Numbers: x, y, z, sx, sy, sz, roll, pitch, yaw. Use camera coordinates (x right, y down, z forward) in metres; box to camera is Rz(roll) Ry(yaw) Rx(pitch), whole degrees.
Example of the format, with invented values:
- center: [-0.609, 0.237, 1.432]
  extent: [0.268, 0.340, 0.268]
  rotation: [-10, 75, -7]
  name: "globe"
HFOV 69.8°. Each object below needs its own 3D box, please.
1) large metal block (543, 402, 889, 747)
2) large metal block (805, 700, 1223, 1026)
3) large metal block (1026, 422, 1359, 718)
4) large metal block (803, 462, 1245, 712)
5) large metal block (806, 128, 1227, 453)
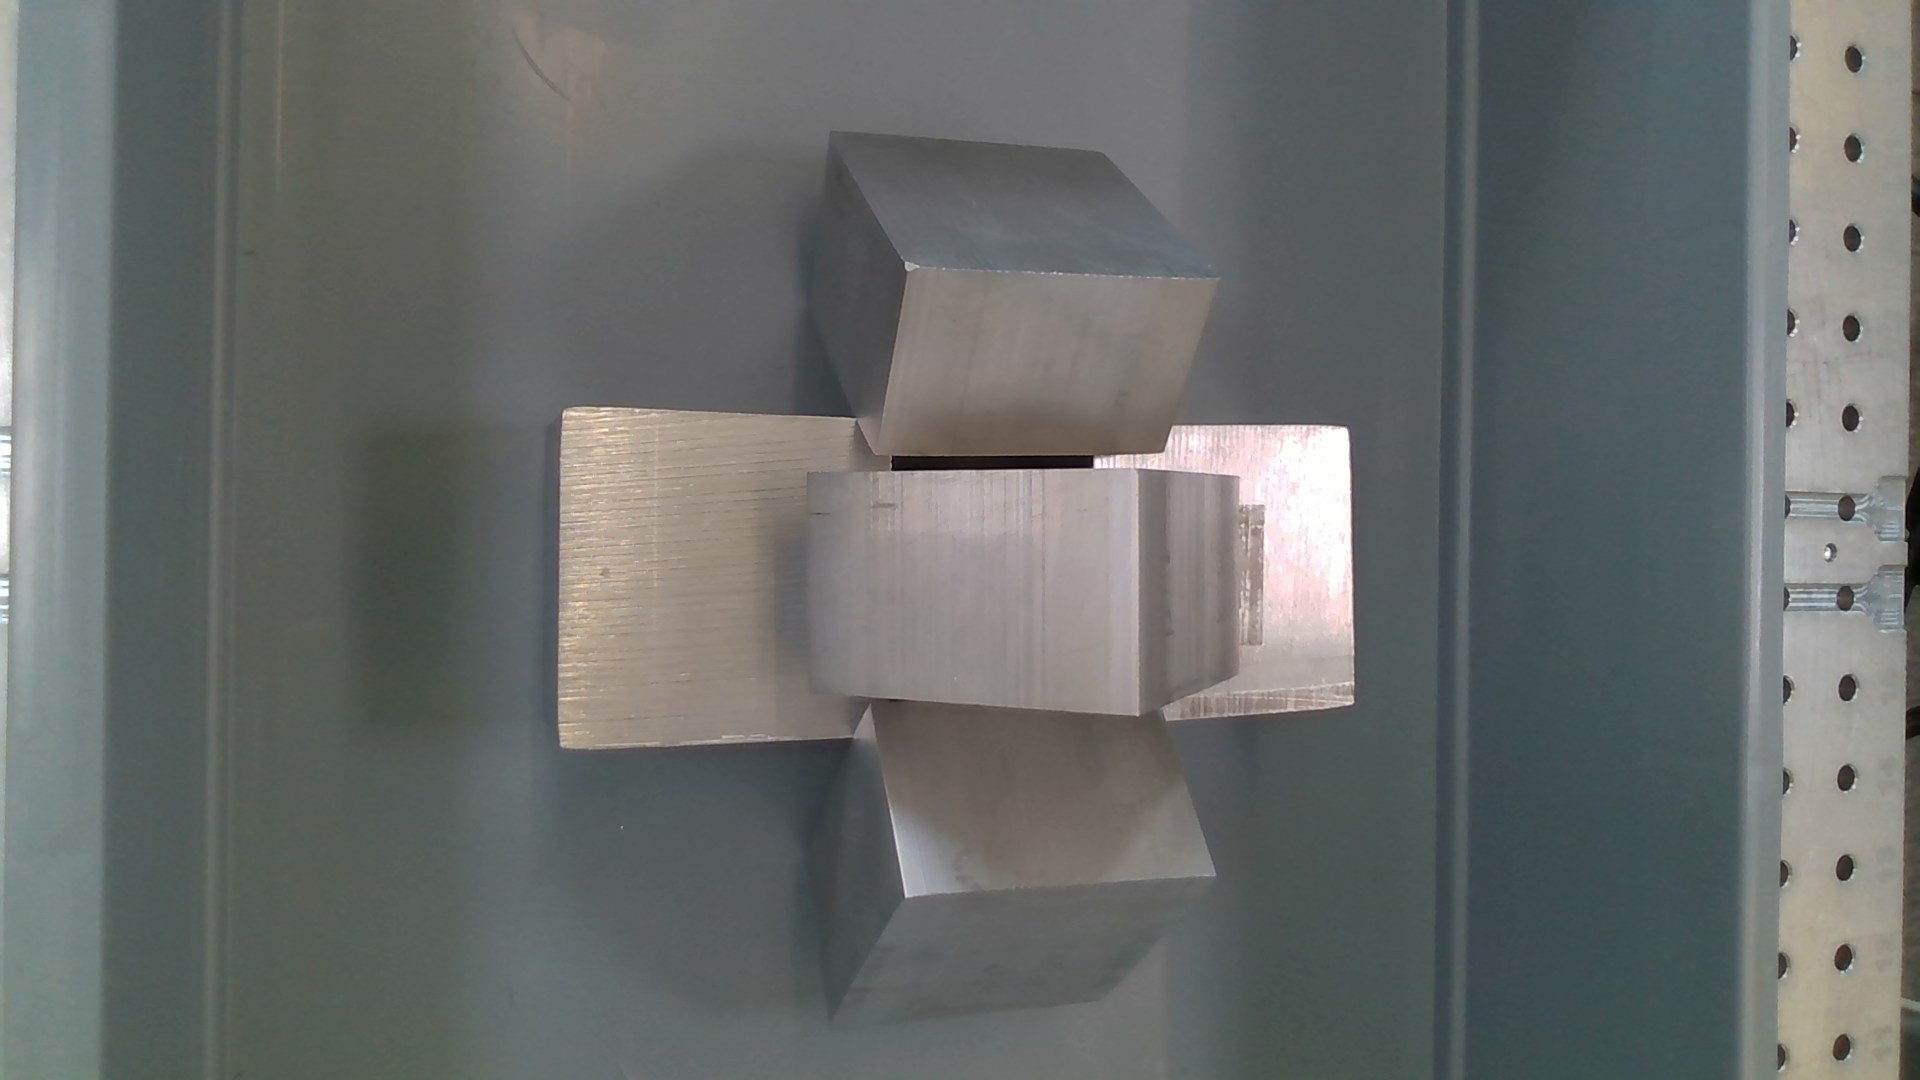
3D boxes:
- center: [-0.064, 0.009, 0.357]
  extent: [0.080, 0.050, 0.080]
  rotation: [1, 90, -20]
  name: "large metal block"
- center: [0.010, 0.084, 0.360]
  extent: [0.080, 0.080, 0.050]
  rotation: [1, 51, -20]
  name: "large metal block"
- center: [0.066, 0.008, 0.402]
  extent: [0.080, 0.050, 0.080]
  rotation: [-2, 91, -20]
  name: "large metal block"
- center: [0.018, 0.008, 0.328]
  extent: [0.080, 0.080, 0.050]
  rotation: [-3, 93, -64]
  name: "large metal block"
- center: [0.010, -0.065, 0.359]
  extent: [0.080, 0.080, 0.050]
  rotation: [-2, 127, -20]
  name: "large metal block"
